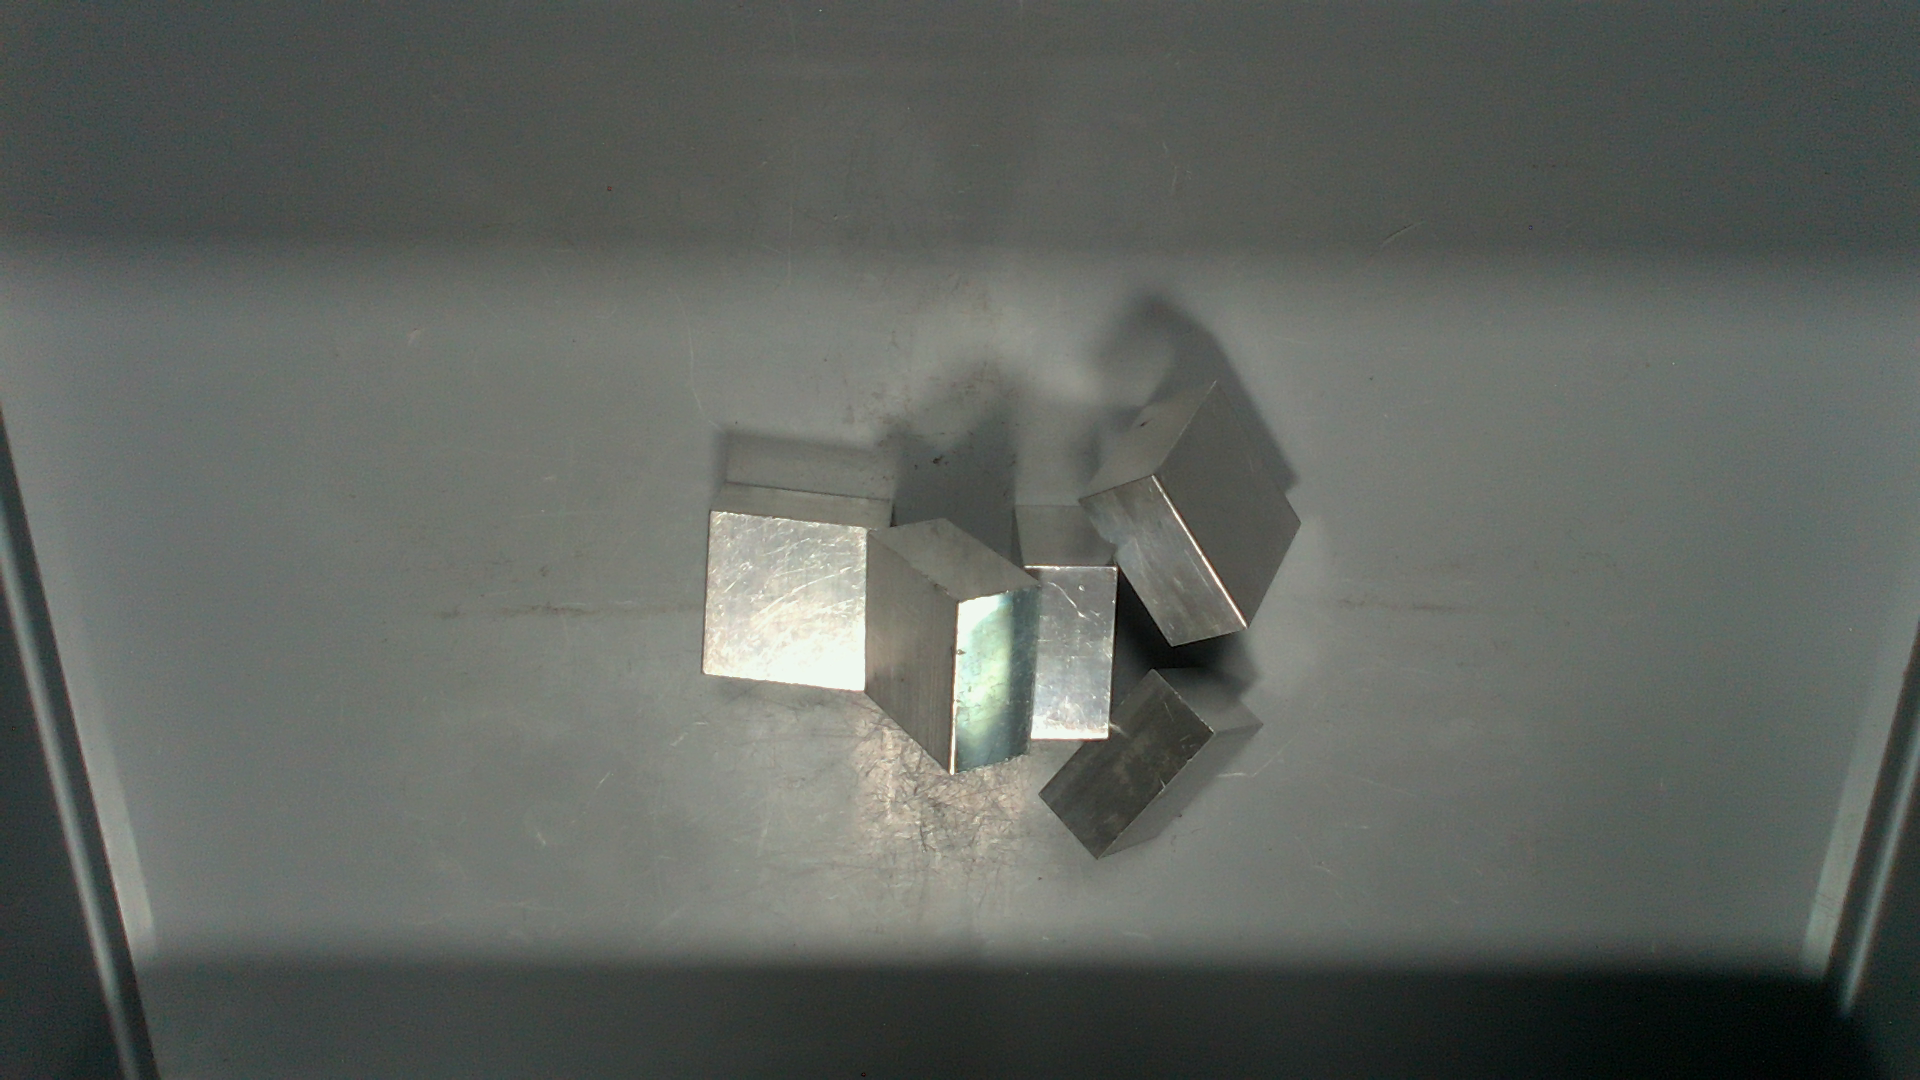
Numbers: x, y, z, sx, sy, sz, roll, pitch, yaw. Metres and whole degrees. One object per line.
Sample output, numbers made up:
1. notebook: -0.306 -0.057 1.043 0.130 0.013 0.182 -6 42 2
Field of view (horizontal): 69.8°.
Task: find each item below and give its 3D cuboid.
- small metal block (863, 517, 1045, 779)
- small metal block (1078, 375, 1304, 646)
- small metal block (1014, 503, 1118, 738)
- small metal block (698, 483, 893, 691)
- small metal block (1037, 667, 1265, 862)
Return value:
1. small metal block: -0.003 0.028 0.370 0.025 0.050 0.050 -11 117 -29
2. small metal block: 0.064 -0.008 0.374 0.025 0.050 0.050 -19 113 41
3. small metal block: 0.028 0.022 0.388 0.025 0.050 0.050 1 110 0
4. small metal block: -0.047 0.014 0.396 0.050 0.025 0.050 6 110 -2
5. small metal block: 0.057 0.063 0.400 0.025 0.050 0.050 46 106 22
